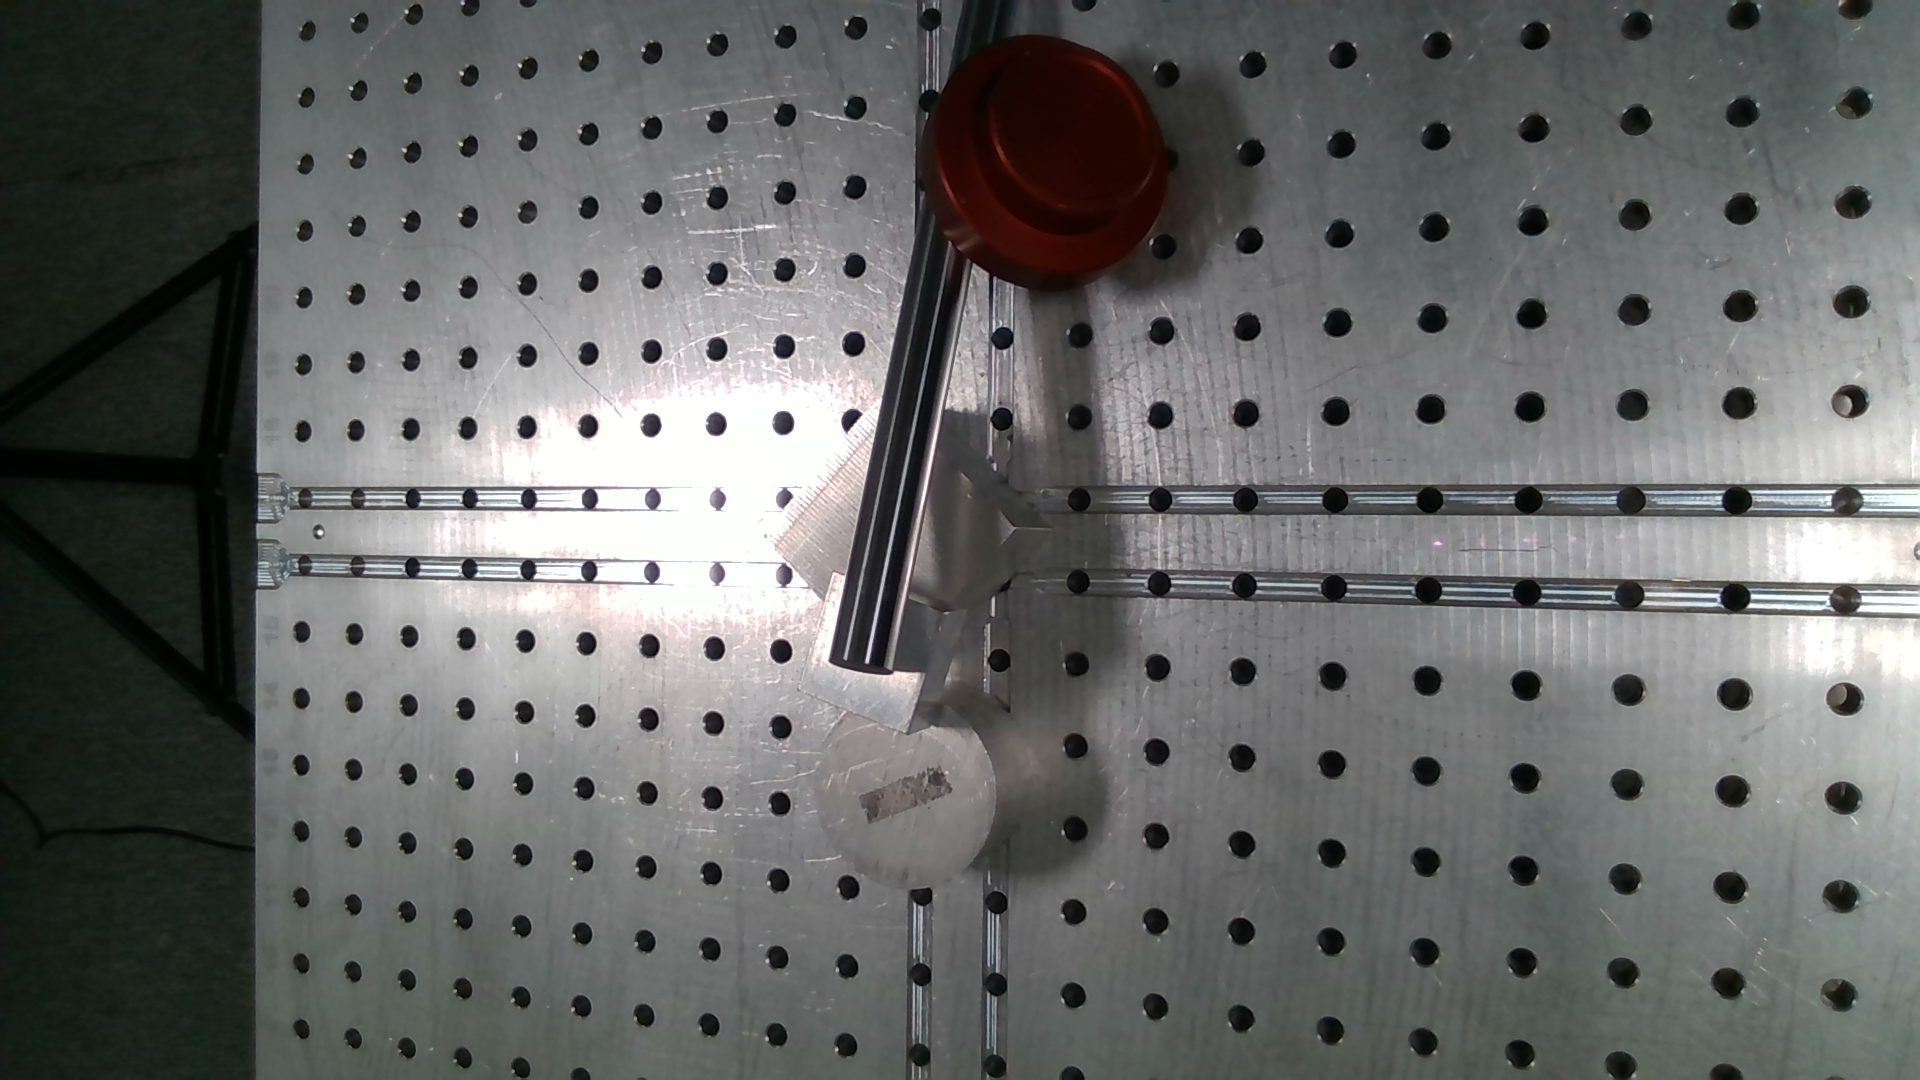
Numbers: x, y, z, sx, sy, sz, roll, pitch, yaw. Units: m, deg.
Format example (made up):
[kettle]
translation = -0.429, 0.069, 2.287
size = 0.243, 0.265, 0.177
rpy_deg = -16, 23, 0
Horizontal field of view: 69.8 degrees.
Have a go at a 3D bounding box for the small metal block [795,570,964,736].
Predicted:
[small metal block]
translation = -0.031, 0.043, 0.544
size = 0.050, 0.025, 0.050
rpy_deg = 20, 97, 19

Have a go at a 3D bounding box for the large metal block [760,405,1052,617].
[large metal block]
translation = -0.022, -0.003, 0.581
size = 0.080, 0.050, 0.080
rpy_deg = 45, 105, 14

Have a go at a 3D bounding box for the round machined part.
[round machined part]
translation = 0.037, -0.151, 0.535
size = 0.098, 0.042, 0.098
rpy_deg = 4, 78, -17

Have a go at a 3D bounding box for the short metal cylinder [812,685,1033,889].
[short metal cylinder]
translation = -0.015, 0.102, 0.581
size = 0.080, 0.050, 0.080
rpy_deg = 0, 90, 20

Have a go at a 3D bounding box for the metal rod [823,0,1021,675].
[metal rod]
translation = -0.011, -0.095, 0.545
size = 0.025, 0.025, 0.299
rpy_deg = 6, 75, 20
